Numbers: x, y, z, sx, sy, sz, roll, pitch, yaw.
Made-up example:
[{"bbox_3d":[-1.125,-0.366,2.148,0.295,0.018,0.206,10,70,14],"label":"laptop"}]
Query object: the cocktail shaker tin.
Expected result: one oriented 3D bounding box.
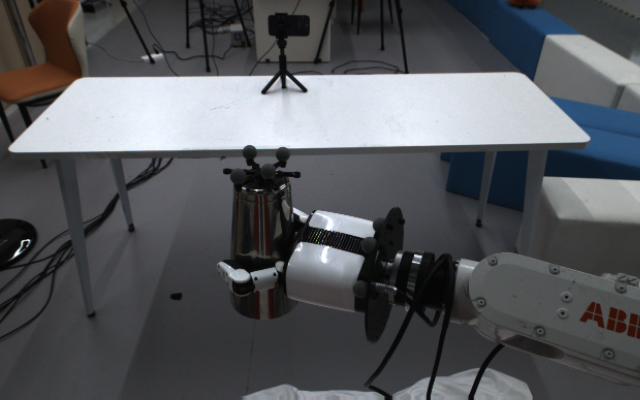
[{"bbox_3d":[-0.068,0.051,0.599,0.093,0.170,0.093,2,28,-1],"label":"cocktail shaker tin"}]
